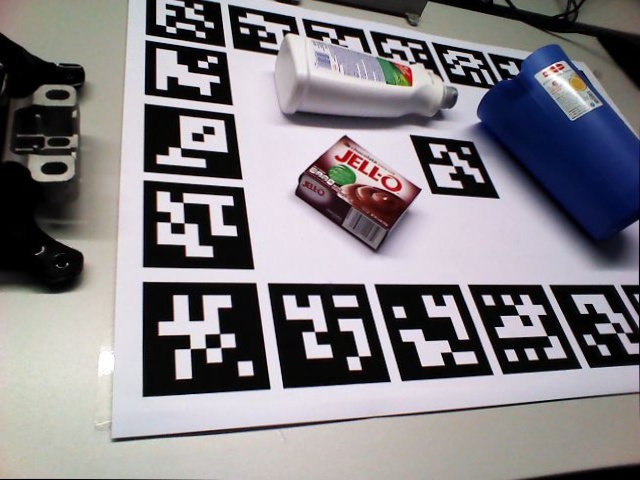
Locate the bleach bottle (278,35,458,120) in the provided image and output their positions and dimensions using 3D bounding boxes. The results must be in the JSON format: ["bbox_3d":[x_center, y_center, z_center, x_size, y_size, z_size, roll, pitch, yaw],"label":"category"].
[{"bbox_3d":[0.076,-0.196,0.667,0.250,0.068,0.102,1,61,-23],"label":"bleach bottle"}]

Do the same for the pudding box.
[{"bbox_3d":[0.046,-0.050,0.561,0.114,0.039,0.089,40,46,7],"label":"pudding box"}]

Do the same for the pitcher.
[{"bbox_3d":[0.343,-0.107,0.686,0.242,0.134,0.188,58,22,16],"label":"pitcher"}]
